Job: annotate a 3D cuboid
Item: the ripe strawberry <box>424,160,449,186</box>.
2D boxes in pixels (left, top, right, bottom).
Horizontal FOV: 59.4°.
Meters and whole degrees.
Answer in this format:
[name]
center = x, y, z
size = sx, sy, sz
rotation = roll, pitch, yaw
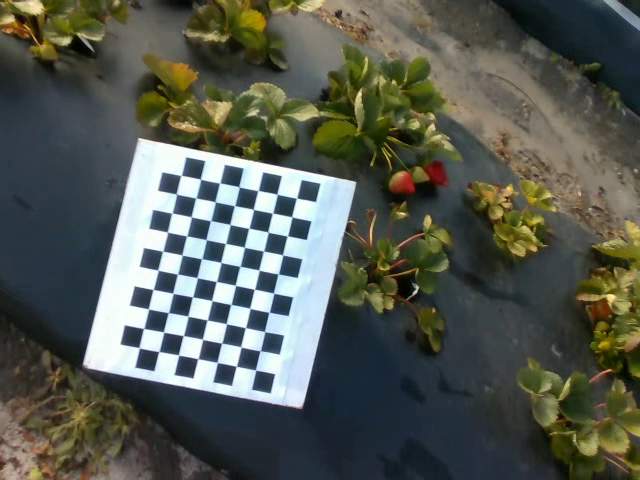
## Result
[ripe strawberry]
center = 0.222, -0.121, 0.993
size = 0.048, 0.065, 0.050
rotation = -37, -4, 2
